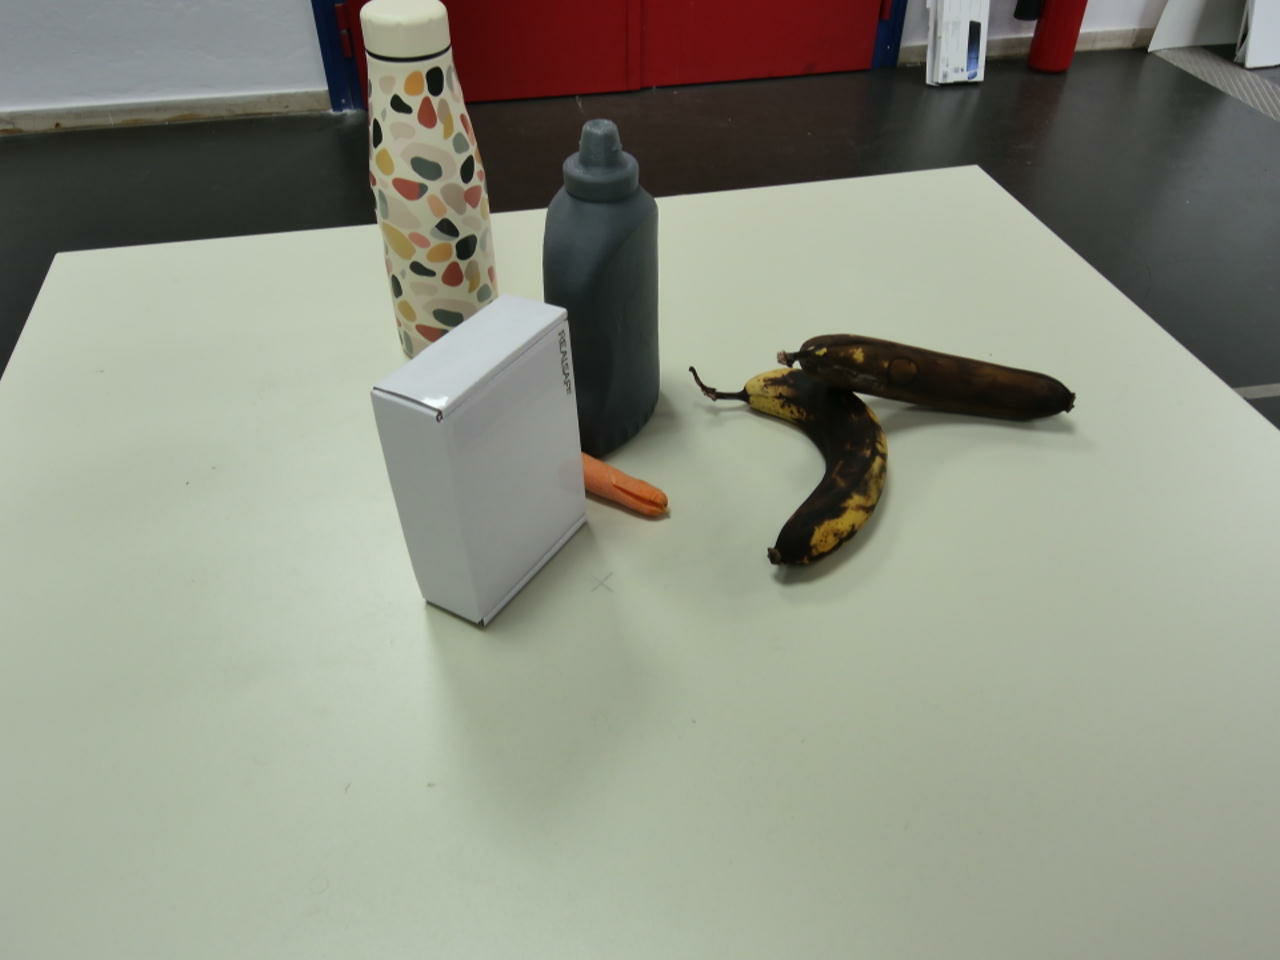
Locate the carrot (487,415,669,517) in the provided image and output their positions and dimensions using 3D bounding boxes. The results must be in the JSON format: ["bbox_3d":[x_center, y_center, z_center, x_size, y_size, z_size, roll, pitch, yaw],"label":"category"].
[{"bbox_3d":[-0.041,-0.009,0.632,0.136,0.032,0.030,22,44,25],"label":"carrot"}]
